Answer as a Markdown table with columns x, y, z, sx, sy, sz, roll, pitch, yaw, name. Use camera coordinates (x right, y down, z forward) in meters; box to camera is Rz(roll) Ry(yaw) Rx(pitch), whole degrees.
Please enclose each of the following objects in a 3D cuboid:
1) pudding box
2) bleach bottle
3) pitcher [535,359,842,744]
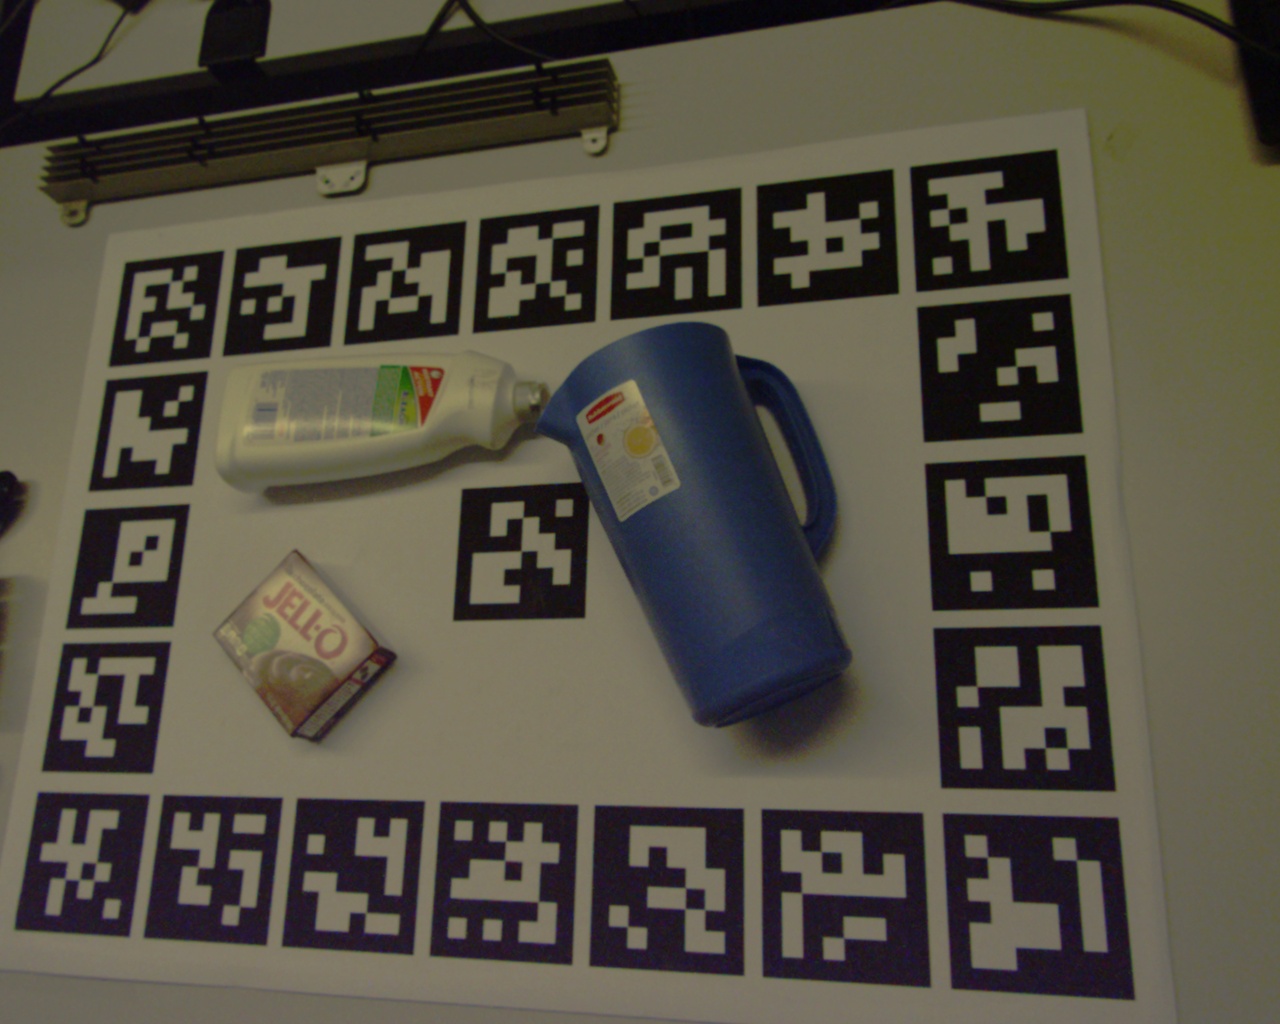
| x | y | z | sx | sy | sz | roll | pitch | yaw | name |
| --- | --- | --- | --- | --- | --- | --- | --- | --- | --- |
| -0.258 | 0.110 | 0.871 | 0.090 | 0.038 | 0.115 | -43 | 70 | -5 | pudding box |
| -0.198 | -0.063 | 0.895 | 0.252 | 0.067 | 0.103 | -5 | 78 | 12 | bleach bottle |
| 0.049 | 0.025 | 0.784 | 0.187 | 0.134 | 0.244 | -17 | 73 | -26 | pitcher |
